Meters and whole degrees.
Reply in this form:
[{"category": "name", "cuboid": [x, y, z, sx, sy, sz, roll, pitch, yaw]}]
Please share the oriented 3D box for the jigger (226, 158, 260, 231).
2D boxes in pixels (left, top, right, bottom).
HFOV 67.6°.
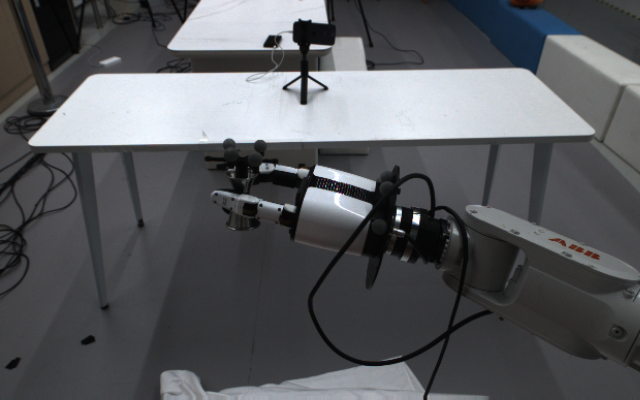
[{"category": "jigger", "cuboid": [-0.097, -0.002, 0.612, 0.043, 0.071, 0.043, 2, 20, -1]}]
